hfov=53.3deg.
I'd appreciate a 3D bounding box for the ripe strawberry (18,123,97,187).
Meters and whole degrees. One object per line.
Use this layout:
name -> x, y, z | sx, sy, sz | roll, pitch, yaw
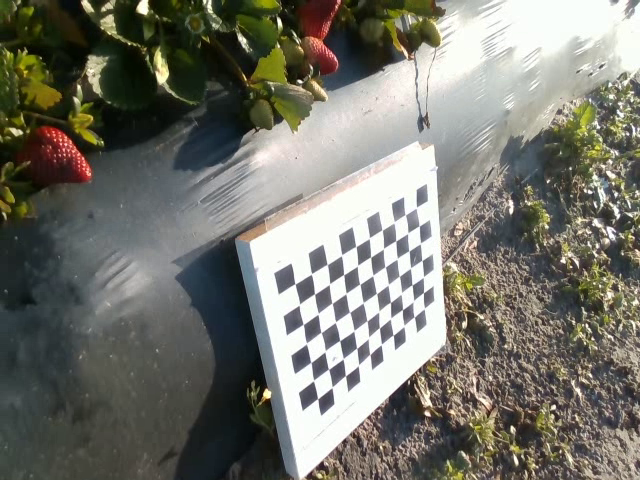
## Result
ripe strawberry -> -0.186, -0.055, 0.453 | 0.052, 0.052, 0.041 | 26, -22, 12
